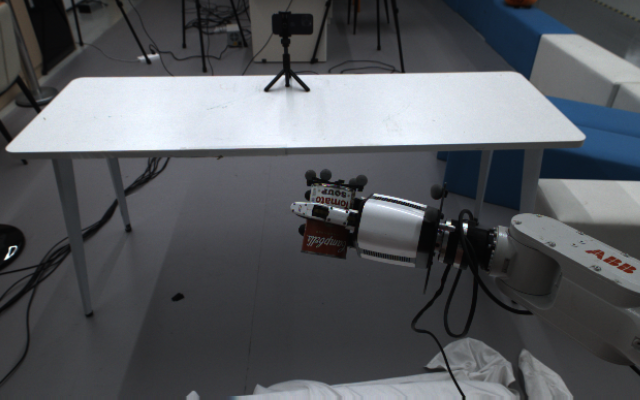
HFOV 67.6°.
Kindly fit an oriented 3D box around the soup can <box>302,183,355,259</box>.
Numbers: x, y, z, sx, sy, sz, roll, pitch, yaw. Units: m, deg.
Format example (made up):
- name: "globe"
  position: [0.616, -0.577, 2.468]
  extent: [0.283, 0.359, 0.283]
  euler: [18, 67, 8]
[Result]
- name: "soup can"
  position: [0.013, 0.032, 0.709]
  extent: [0.067, 0.101, 0.067]
  euler: [9, -6, 1]
